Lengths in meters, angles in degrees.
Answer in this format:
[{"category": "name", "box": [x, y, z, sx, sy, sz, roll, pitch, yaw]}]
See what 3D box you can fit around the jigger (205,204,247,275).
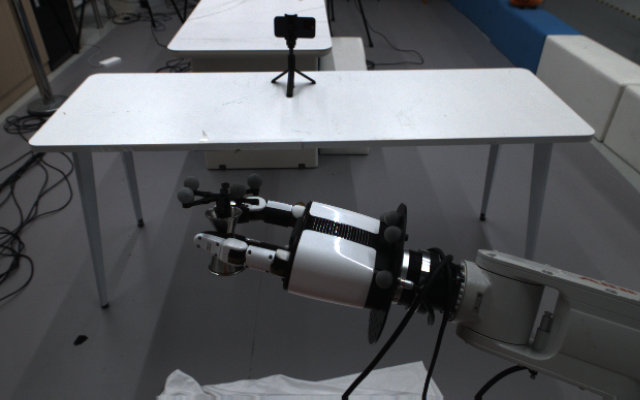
[{"category": "jigger", "box": [-0.105, 0.045, 0.543, 0.043, 0.071, 0.043, 0, 21, 0]}]
